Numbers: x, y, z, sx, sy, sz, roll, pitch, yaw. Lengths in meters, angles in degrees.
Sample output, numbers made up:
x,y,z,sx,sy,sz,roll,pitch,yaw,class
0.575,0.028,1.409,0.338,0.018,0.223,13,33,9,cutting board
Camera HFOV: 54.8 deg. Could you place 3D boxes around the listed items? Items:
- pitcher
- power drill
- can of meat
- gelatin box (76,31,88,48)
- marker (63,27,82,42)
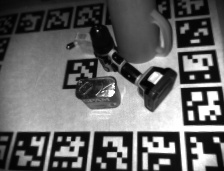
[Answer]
x,y,z,sx,sy,sz,roll,pitch,yaw,class
0.064,-0.183,0.552,0.186,0.245,0.133,27,79,29,pitcher
0.019,-0.076,0.542,0.185,0.186,0.057,32,80,17,power drill
-0.039,0.005,0.571,0.101,0.084,0.057,-5,64,11,can of meat
-0.060,-0.139,0.648,0.089,0.074,0.030,7,73,14,gelatin box
-0.105,-0.176,0.701,0.121,0.020,0.019,-29,64,0,marker
